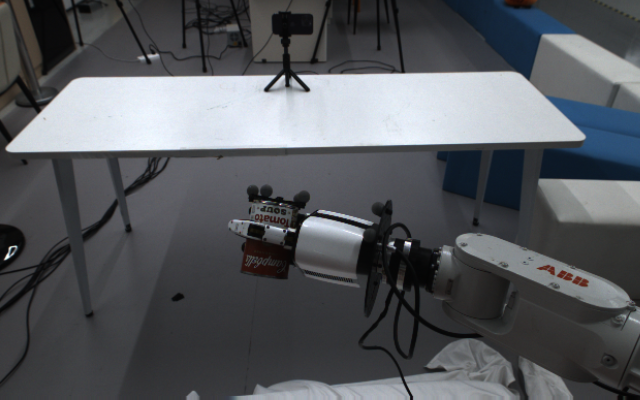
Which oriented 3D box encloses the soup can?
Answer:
[{"bbox_3d":[-0.069,0.056,0.676,0.067,0.101,0.067,9,-6,1],"label":"soup can"}]
